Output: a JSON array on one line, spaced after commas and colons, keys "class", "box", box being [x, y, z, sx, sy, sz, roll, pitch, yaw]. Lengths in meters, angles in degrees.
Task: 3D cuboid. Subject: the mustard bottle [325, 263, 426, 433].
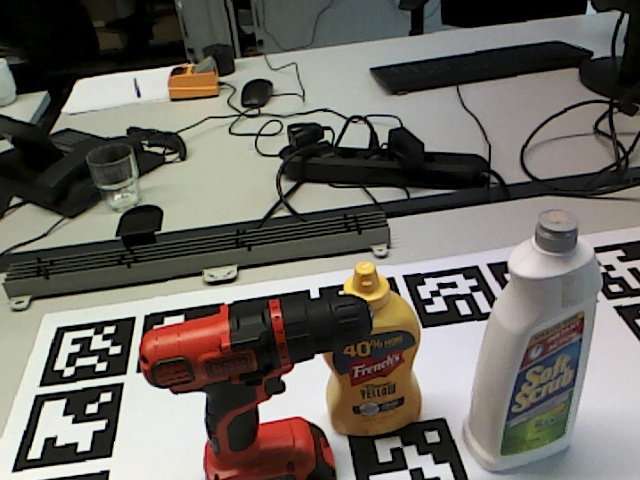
[{"class": "mustard bottle", "box": [0.051, 0.101, 0.588, 0.096, 0.191, 0.058, -7, 35, -4]}]

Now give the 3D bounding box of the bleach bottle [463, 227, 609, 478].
[{"class": "bleach bottle", "box": [0.185, 0.100, 0.535, 0.102, 0.250, 0.068, -13, 38, -10]}]

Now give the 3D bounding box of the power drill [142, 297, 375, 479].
[{"class": "power drill", "box": [-0.043, 0.135, 0.522, 0.184, 0.186, 0.057, -8, 29, -7]}]

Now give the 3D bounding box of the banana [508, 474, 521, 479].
[{"class": "banana", "box": [0.080, 0.243, 0.515, 0.197, 0.038, 0.074, -8, 40, 1]}]
